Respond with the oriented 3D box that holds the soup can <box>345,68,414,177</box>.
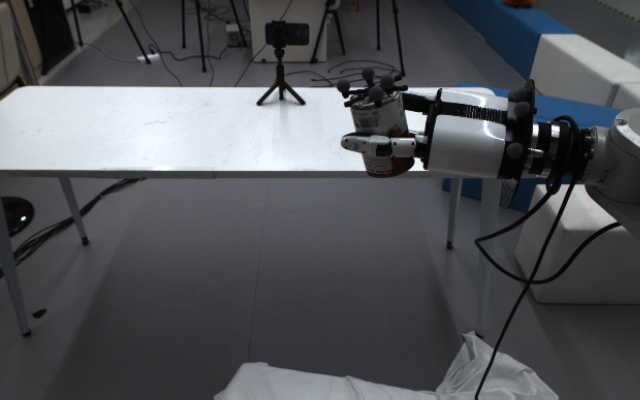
[{"bbox_3d":[0.082,-0.089,0.627,0.067,0.101,0.067,-13,31,8],"label":"soup can"}]
